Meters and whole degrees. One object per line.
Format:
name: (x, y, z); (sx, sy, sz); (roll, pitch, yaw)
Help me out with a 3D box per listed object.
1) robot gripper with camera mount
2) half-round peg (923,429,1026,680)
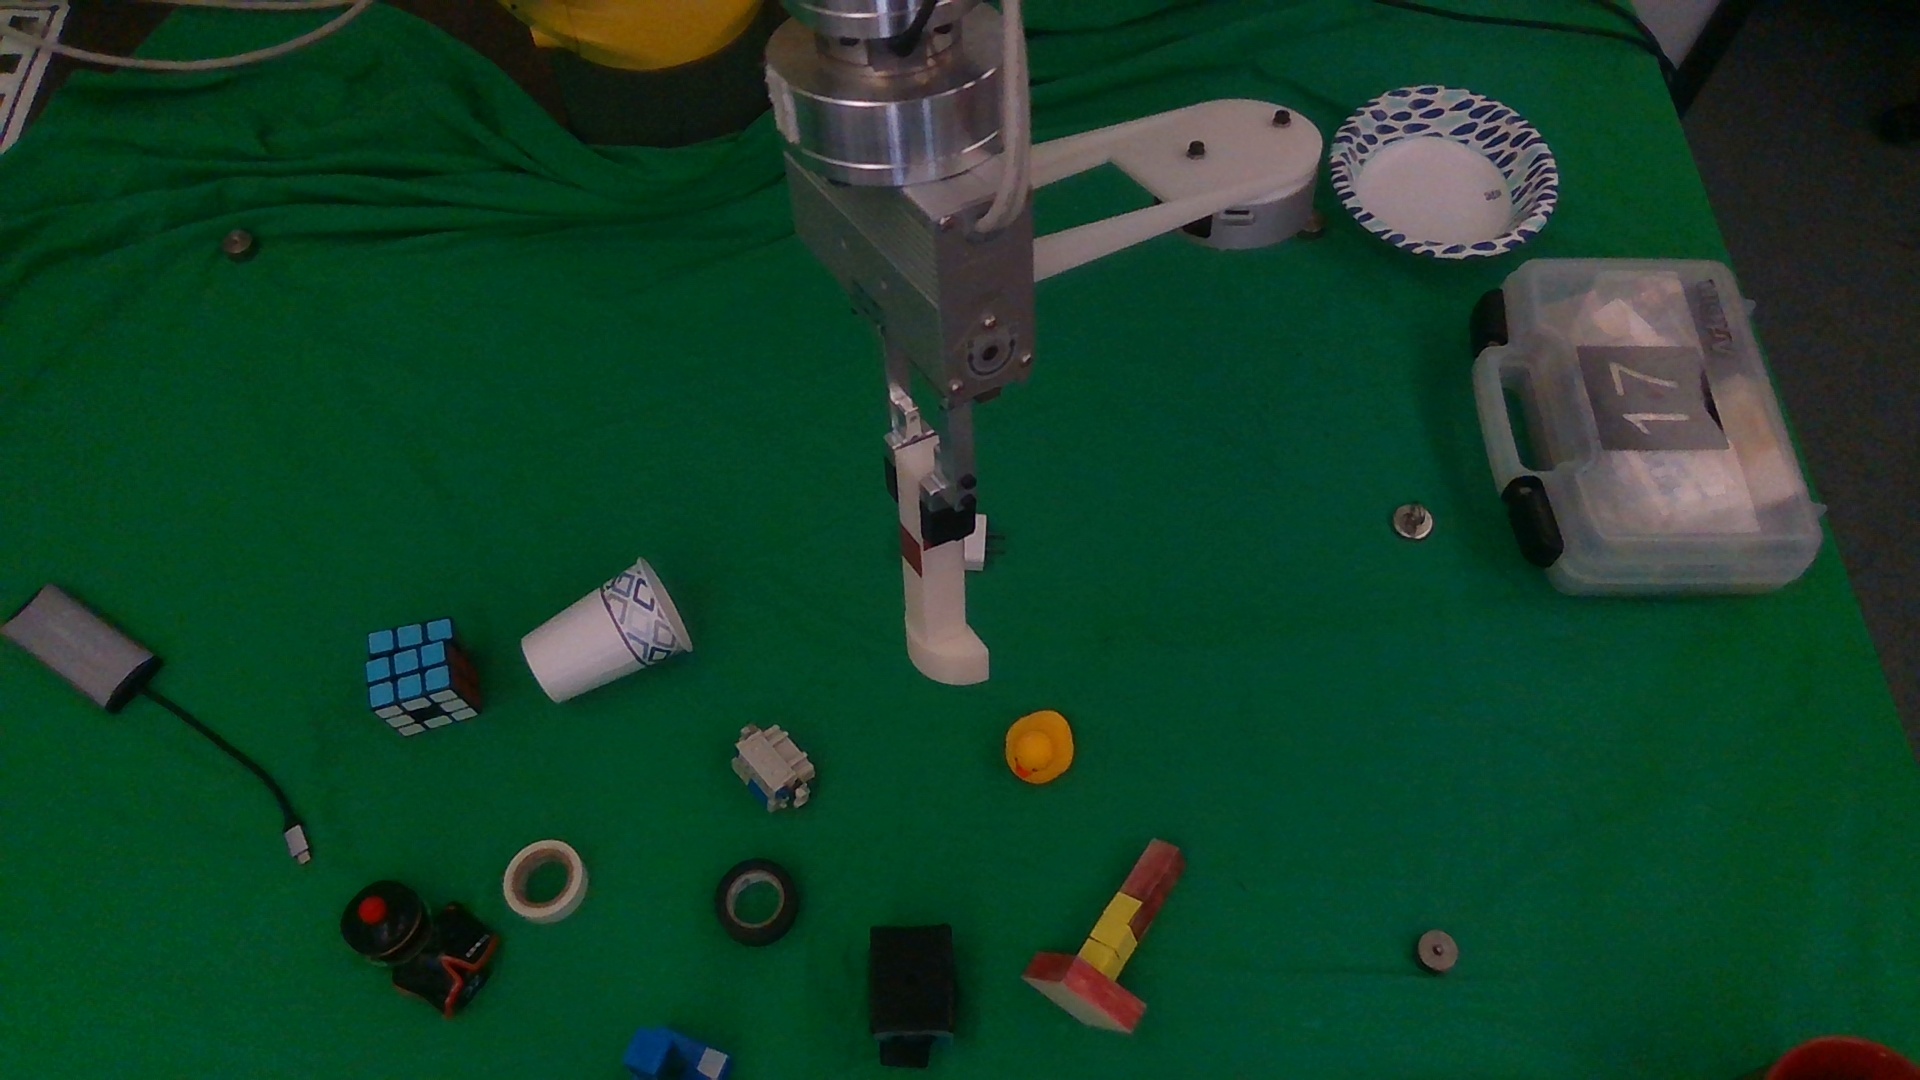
robot gripper with camera mount: (0.052, -0.102, 0.541); (0.193, 0.158, 0.119); (-23, 46, -20)
half-round peg: (0.005, 0.006, 0.591); (0.031, 0.122, 0.054); (-28, 50, -30)
